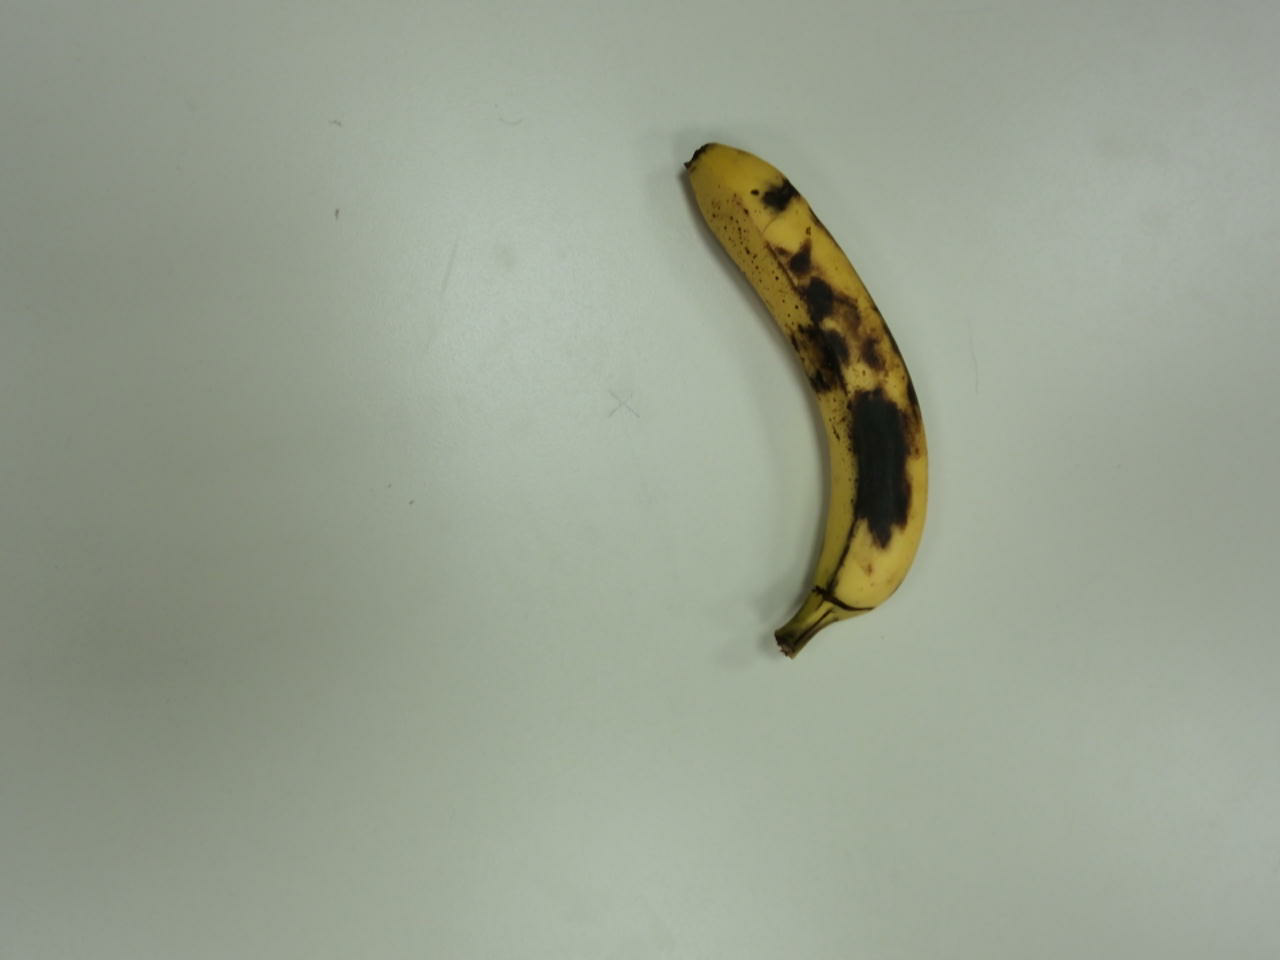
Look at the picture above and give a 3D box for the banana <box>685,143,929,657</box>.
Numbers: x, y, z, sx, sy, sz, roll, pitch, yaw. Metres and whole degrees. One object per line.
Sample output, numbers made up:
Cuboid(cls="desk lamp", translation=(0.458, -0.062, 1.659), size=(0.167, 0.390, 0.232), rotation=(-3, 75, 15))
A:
Cuboid(cls="banana", translation=(0.080, -0.039, 0.435), size=(0.084, 0.037, 0.222), rotation=(-10, 92, -11))
